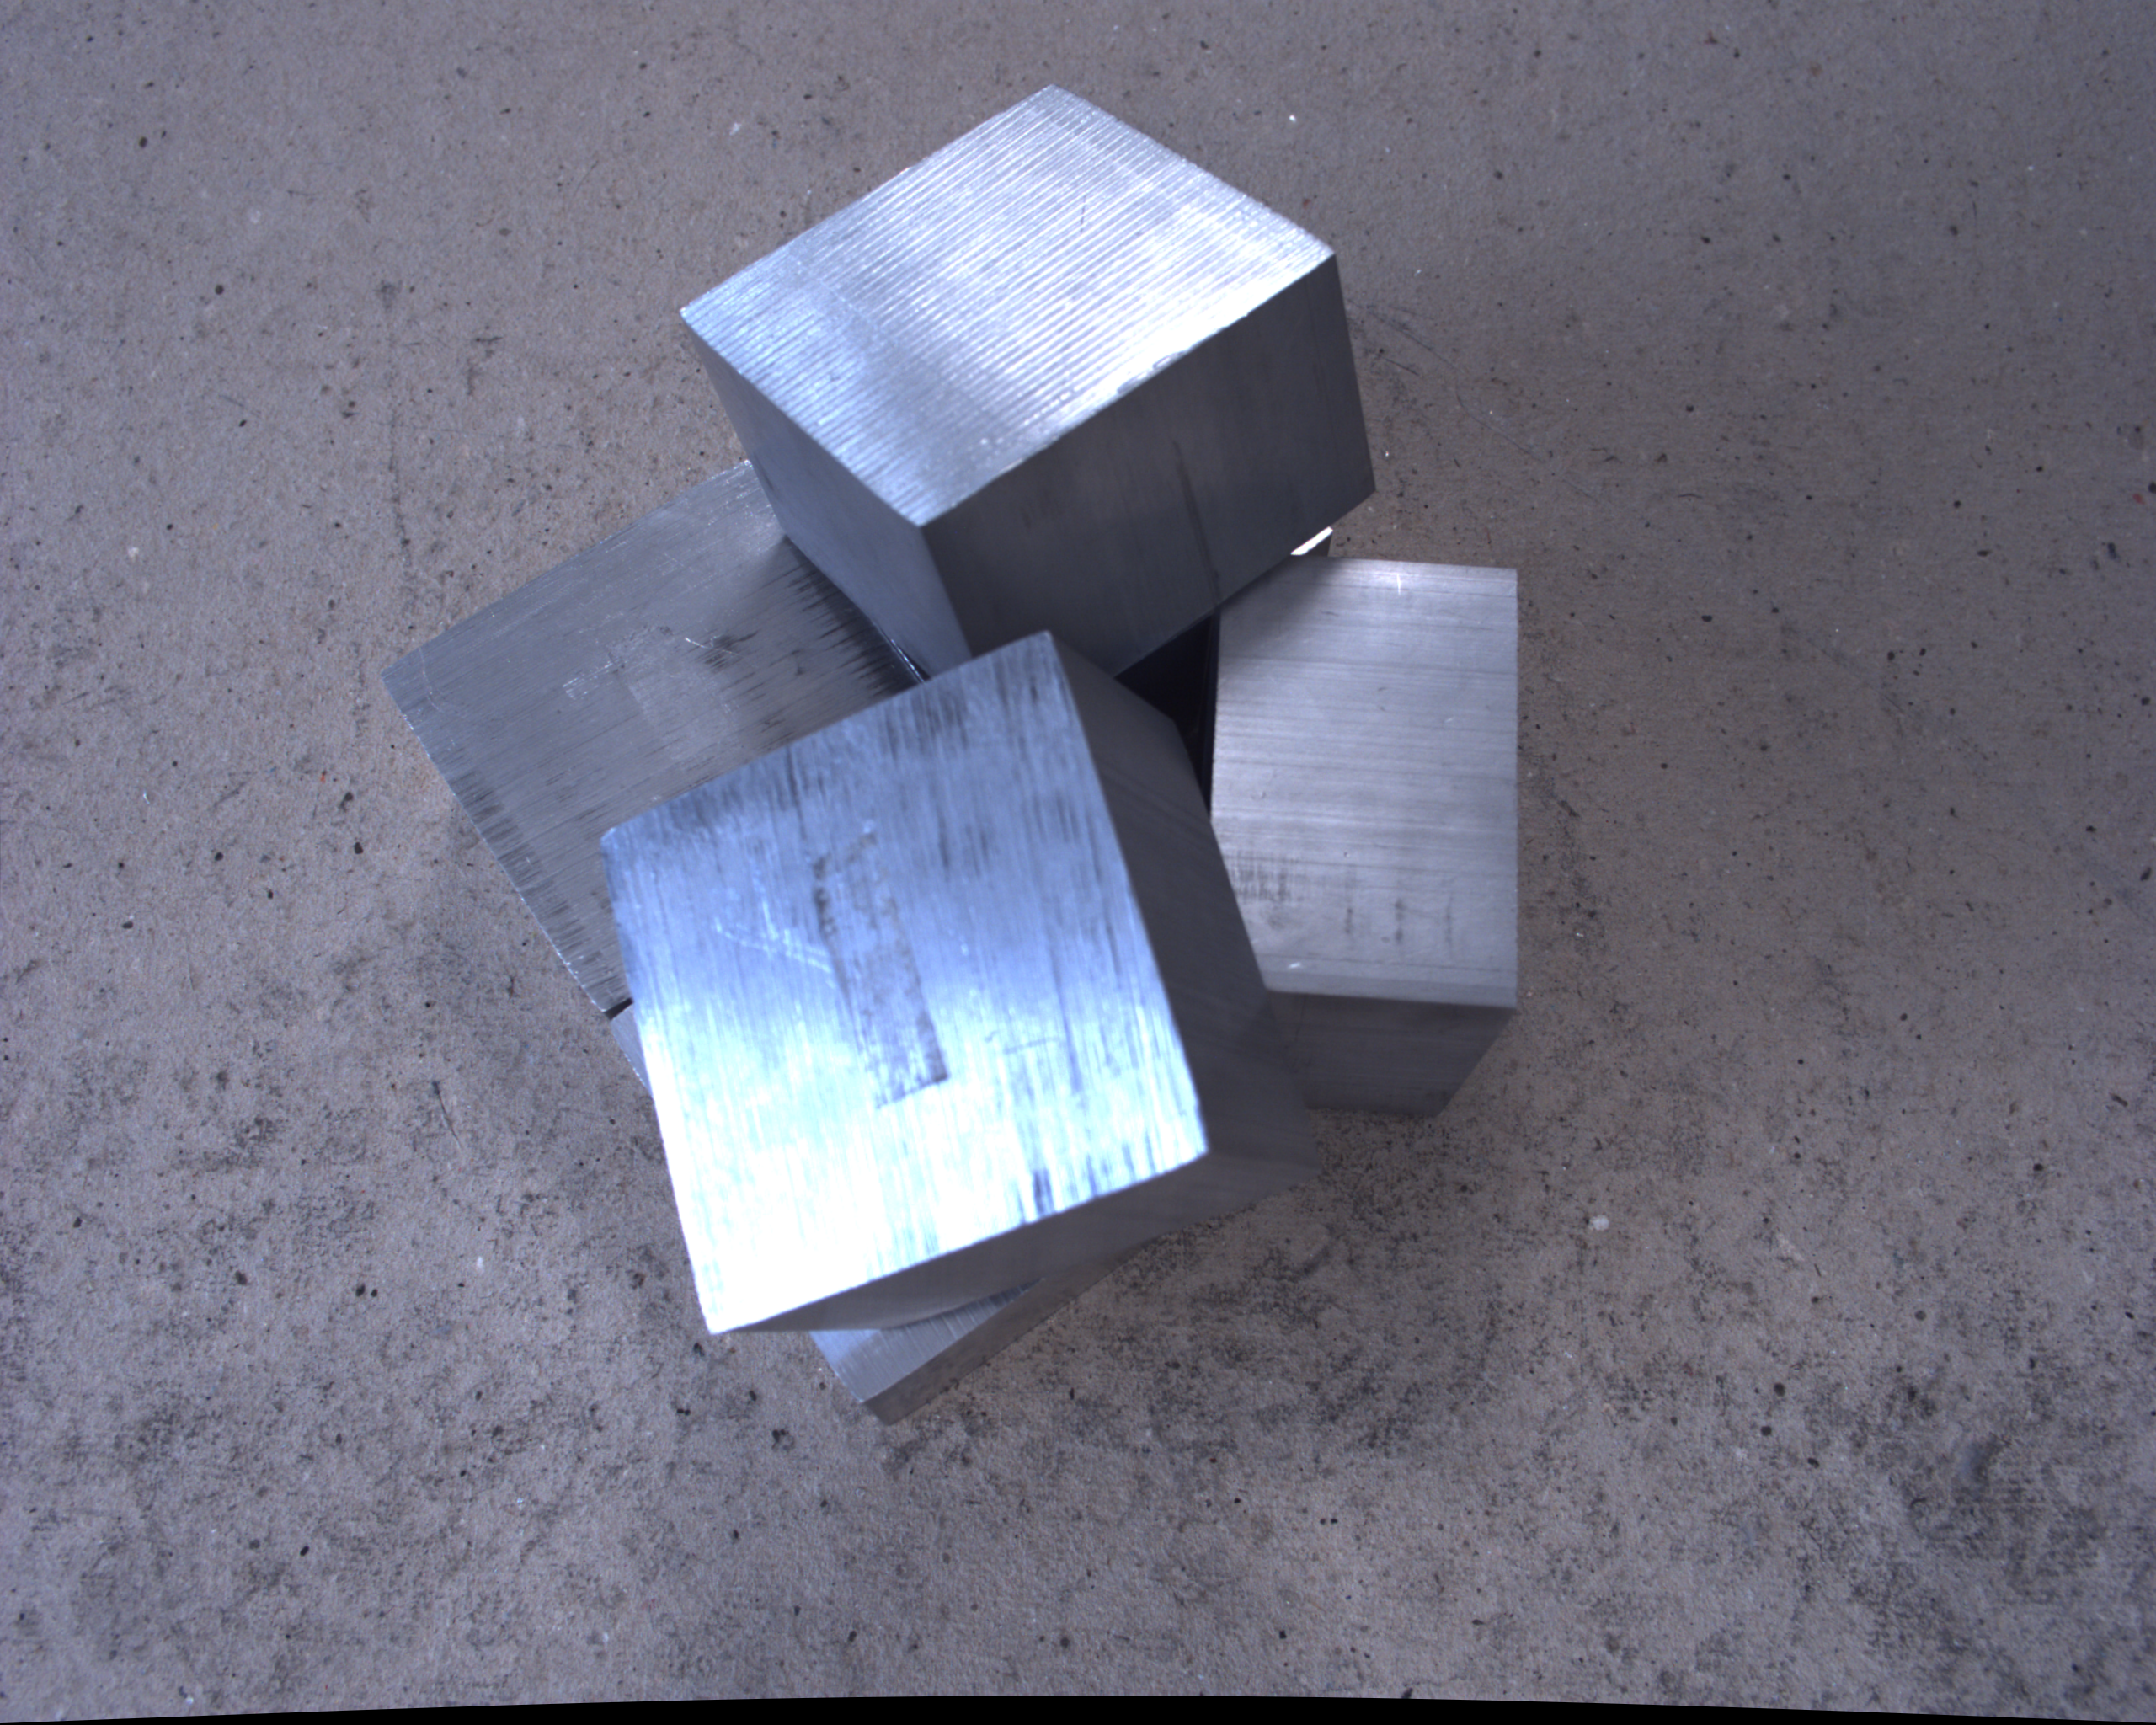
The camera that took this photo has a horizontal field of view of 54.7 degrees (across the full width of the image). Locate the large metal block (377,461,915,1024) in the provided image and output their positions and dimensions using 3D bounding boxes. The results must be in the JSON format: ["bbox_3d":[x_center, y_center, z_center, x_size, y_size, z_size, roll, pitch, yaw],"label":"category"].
[{"bbox_3d":[-0.072,-0.017,0.402,0.080,0.050,0.080,-34,74,-12],"label":"large metal block"}]

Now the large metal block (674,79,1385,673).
[{"bbox_3d":[-0.008,-0.079,0.355,0.080,0.050,0.080,-35,51,-12],"label":"large metal block"}]

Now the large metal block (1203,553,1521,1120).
[{"bbox_3d":[0.048,-0.002,0.381,0.050,0.080,0.080,3,70,1],"label":"large metal block"}]

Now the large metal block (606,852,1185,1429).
[{"bbox_3d":[-0.025,0.044,0.381,0.080,0.050,0.080,-34,74,-12],"label":"large metal block"}]

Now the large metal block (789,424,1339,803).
[{"bbox_3d":[-0.007,-0.063,0.417,0.080,0.050,0.080,-34,73,-13],"label":"large metal block"}]

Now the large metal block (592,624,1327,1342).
[{"bbox_3d":[-0.019,0.022,0.319,0.080,0.050,0.080,-23,71,18],"label":"large metal block"}]
